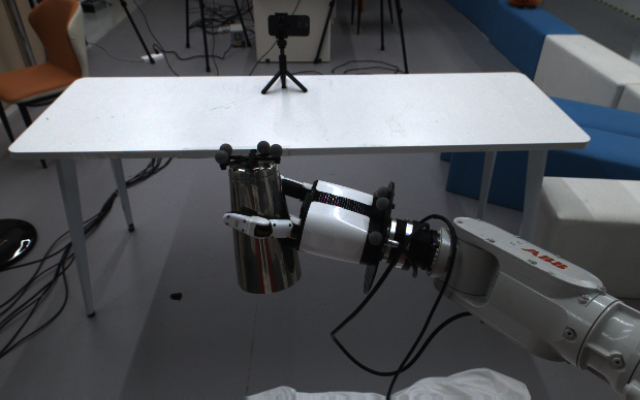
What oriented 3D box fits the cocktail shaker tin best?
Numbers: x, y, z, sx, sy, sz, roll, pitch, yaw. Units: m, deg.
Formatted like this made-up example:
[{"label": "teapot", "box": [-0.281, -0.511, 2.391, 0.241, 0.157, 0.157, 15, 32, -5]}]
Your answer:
[{"label": "cocktail shaker tin", "box": [-0.081, 0.032, 0.668, 0.093, 0.170, 0.093, -6, 19, 2]}]
